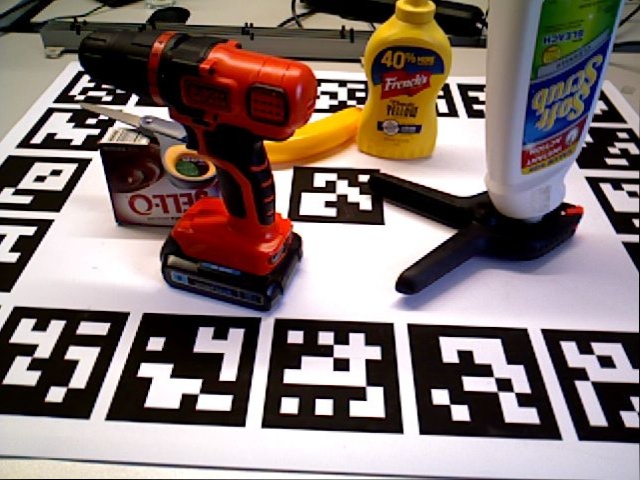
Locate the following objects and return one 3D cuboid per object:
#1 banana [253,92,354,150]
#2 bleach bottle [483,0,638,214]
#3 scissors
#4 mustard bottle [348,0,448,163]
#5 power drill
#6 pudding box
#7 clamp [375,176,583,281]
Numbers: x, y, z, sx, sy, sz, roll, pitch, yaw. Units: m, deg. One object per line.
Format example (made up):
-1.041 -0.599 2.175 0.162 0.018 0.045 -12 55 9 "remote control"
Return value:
-0.023 -0.144 0.648 0.193 0.039 0.074 -27 33 -27 "banana"
0.193 -0.117 0.454 0.102 0.256 0.067 -15 41 -8 "bleach bottle"
-0.165 -0.116 0.488 0.203 0.016 0.086 23 51 15 "scissors"
0.086 -0.179 0.590 0.096 0.196 0.057 13 43 10 "mustard bottle"
-0.100 -0.062 0.412 0.185 0.191 0.056 10 37 12 "power drill"
-0.159 -0.063 0.527 0.113 0.092 0.038 6 36 3 "pudding box"
0.154 -0.029 0.516 0.201 0.037 0.163 -2 45 -5 "clamp"
